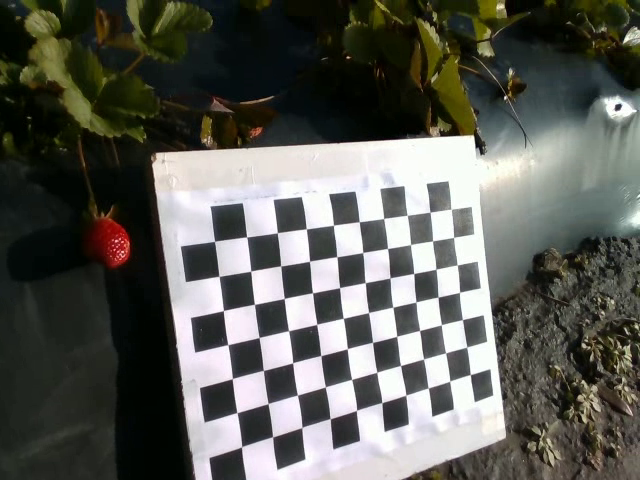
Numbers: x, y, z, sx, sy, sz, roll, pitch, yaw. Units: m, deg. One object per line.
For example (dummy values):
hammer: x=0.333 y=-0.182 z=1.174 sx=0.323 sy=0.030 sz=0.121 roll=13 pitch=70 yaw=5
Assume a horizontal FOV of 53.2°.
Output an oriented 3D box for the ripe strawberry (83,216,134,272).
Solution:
ripe strawberry: x=-0.117 y=0.005 z=0.349 sx=0.034 sy=0.033 sz=0.038 roll=-10 pitch=42 yaw=-30
